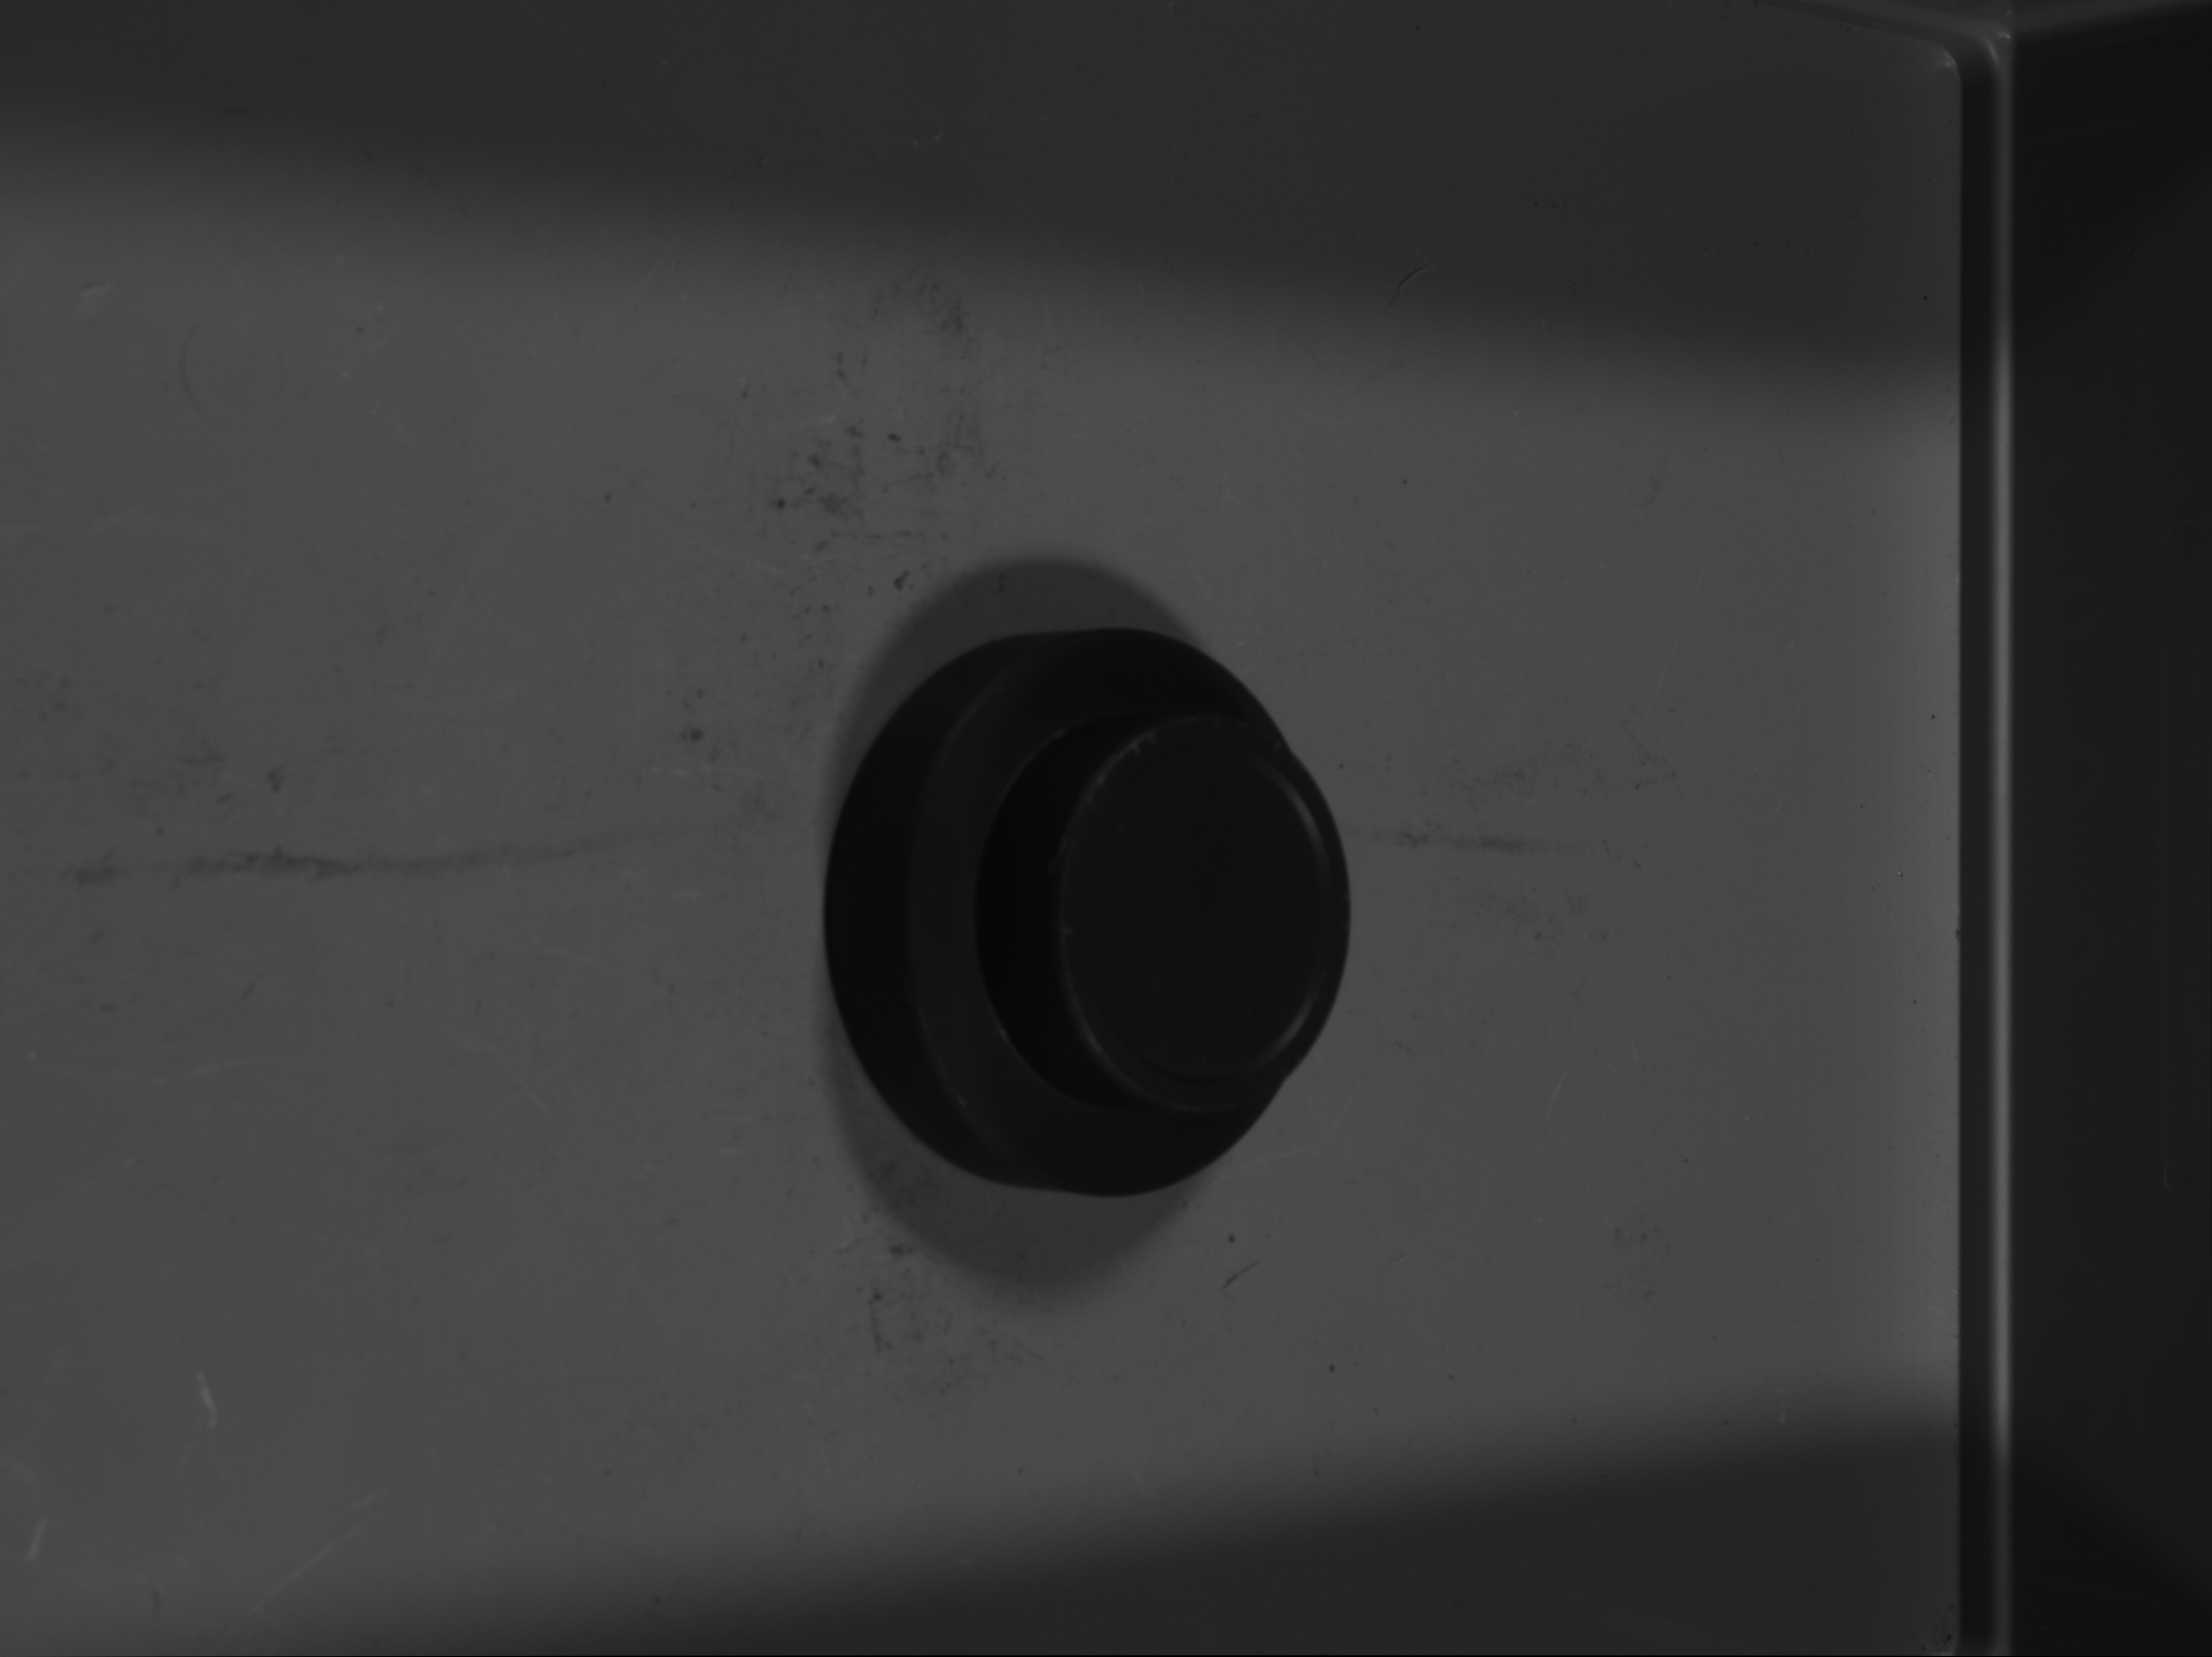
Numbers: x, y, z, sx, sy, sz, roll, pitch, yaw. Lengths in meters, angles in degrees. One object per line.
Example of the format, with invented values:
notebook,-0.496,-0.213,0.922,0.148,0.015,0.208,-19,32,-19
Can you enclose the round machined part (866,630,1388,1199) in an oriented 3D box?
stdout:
round machined part,0.010,0.015,0.631,0.098,0.042,0.098,0,90,-40
